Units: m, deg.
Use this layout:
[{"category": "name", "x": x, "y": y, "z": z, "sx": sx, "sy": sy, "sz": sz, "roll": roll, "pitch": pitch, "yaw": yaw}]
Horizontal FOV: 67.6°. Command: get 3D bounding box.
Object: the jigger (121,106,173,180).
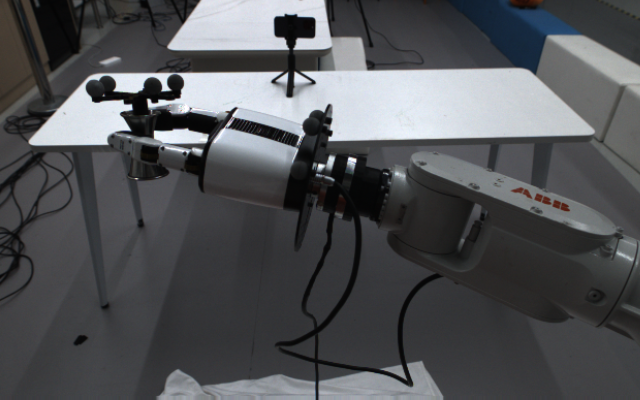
[{"category": "jigger", "x": -0.187, "y": -0.058, "z": 0.519, "sx": 0.043, "sy": 0.071, "sz": 0.043, "roll": 0, "pitch": 22, "yaw": 0}]
